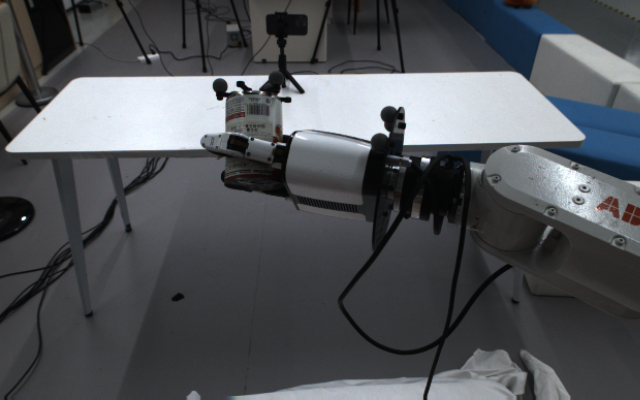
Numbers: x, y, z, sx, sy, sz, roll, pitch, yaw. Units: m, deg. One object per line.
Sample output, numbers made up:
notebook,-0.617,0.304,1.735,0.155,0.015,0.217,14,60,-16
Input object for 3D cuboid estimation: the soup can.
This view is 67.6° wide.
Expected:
soup can,-0.074,-0.065,0.556,0.067,0.101,0.067,-1,-9,0
